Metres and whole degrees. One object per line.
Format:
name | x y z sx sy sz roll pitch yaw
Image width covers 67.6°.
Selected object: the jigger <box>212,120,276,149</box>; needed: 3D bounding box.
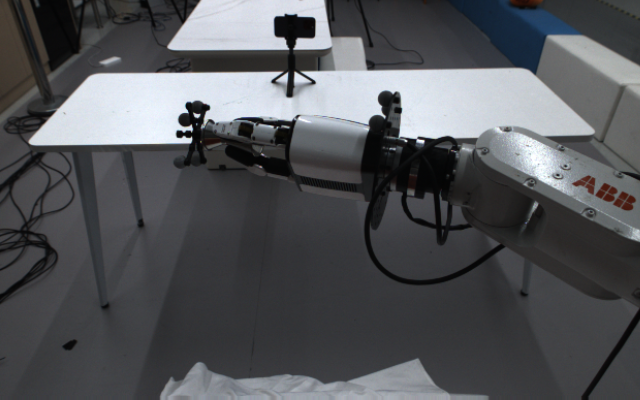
jigger | -0.106 -0.082 0.605 0.071 0.043 0.043 6 35 14
